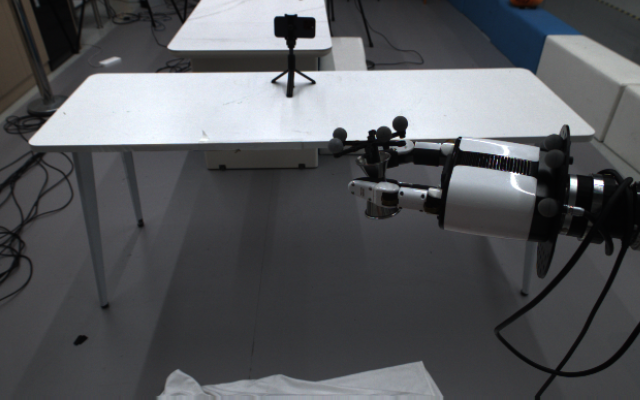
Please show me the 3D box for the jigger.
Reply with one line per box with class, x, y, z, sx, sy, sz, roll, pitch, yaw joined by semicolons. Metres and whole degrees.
jigger;0.065;-0.019;0.563;0.043;0.071;0.043;-12;24;5
